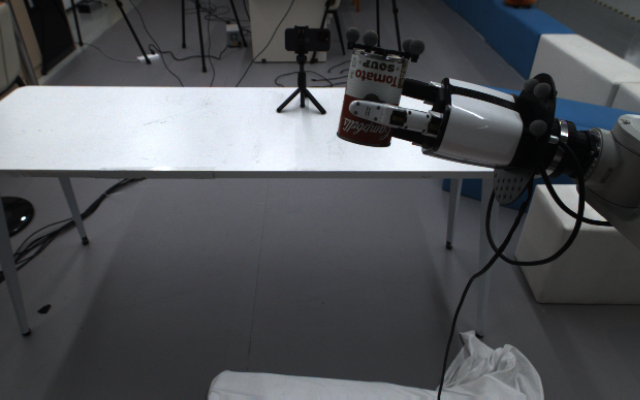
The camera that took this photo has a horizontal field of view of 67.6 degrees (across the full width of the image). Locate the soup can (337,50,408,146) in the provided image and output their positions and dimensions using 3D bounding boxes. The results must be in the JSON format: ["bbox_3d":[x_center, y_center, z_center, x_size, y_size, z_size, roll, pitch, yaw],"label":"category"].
[{"bbox_3d":[0.063,-0.122,0.578,0.067,0.101,0.067,9,20,-3],"label":"soup can"}]
